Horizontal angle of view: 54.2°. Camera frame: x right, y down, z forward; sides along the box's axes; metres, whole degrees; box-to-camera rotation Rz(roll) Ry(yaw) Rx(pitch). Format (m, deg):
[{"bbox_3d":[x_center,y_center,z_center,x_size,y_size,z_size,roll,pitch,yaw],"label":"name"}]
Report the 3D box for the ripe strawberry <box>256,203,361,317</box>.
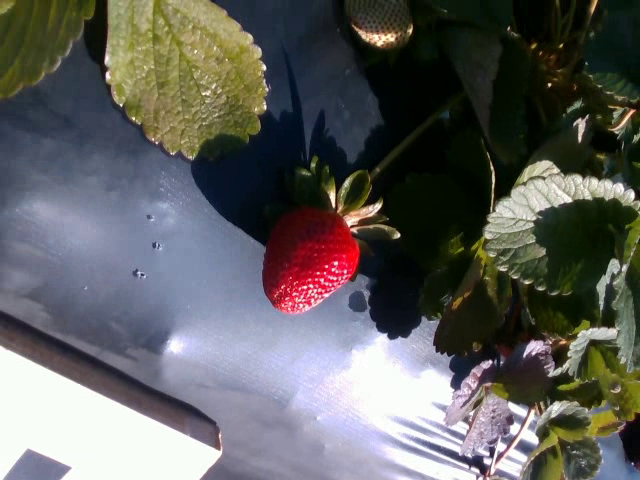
[{"bbox_3d":[-0.009,0.010,0.242,0.043,0.043,0.050,10,39,29],"label":"ripe strawberry"}]
